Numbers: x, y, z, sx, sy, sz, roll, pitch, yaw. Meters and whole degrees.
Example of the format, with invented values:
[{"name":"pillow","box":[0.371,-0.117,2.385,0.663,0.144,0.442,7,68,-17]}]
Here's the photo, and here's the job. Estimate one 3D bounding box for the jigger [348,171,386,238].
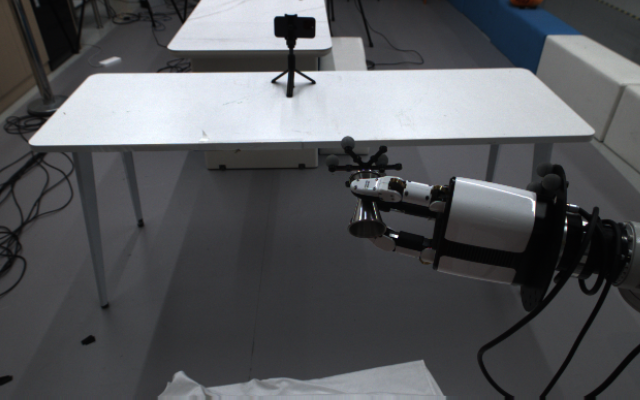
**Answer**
[{"name":"jigger","box":[0.054,0.001,0.557,0.043,0.043,0.071,2,59,-1]}]
